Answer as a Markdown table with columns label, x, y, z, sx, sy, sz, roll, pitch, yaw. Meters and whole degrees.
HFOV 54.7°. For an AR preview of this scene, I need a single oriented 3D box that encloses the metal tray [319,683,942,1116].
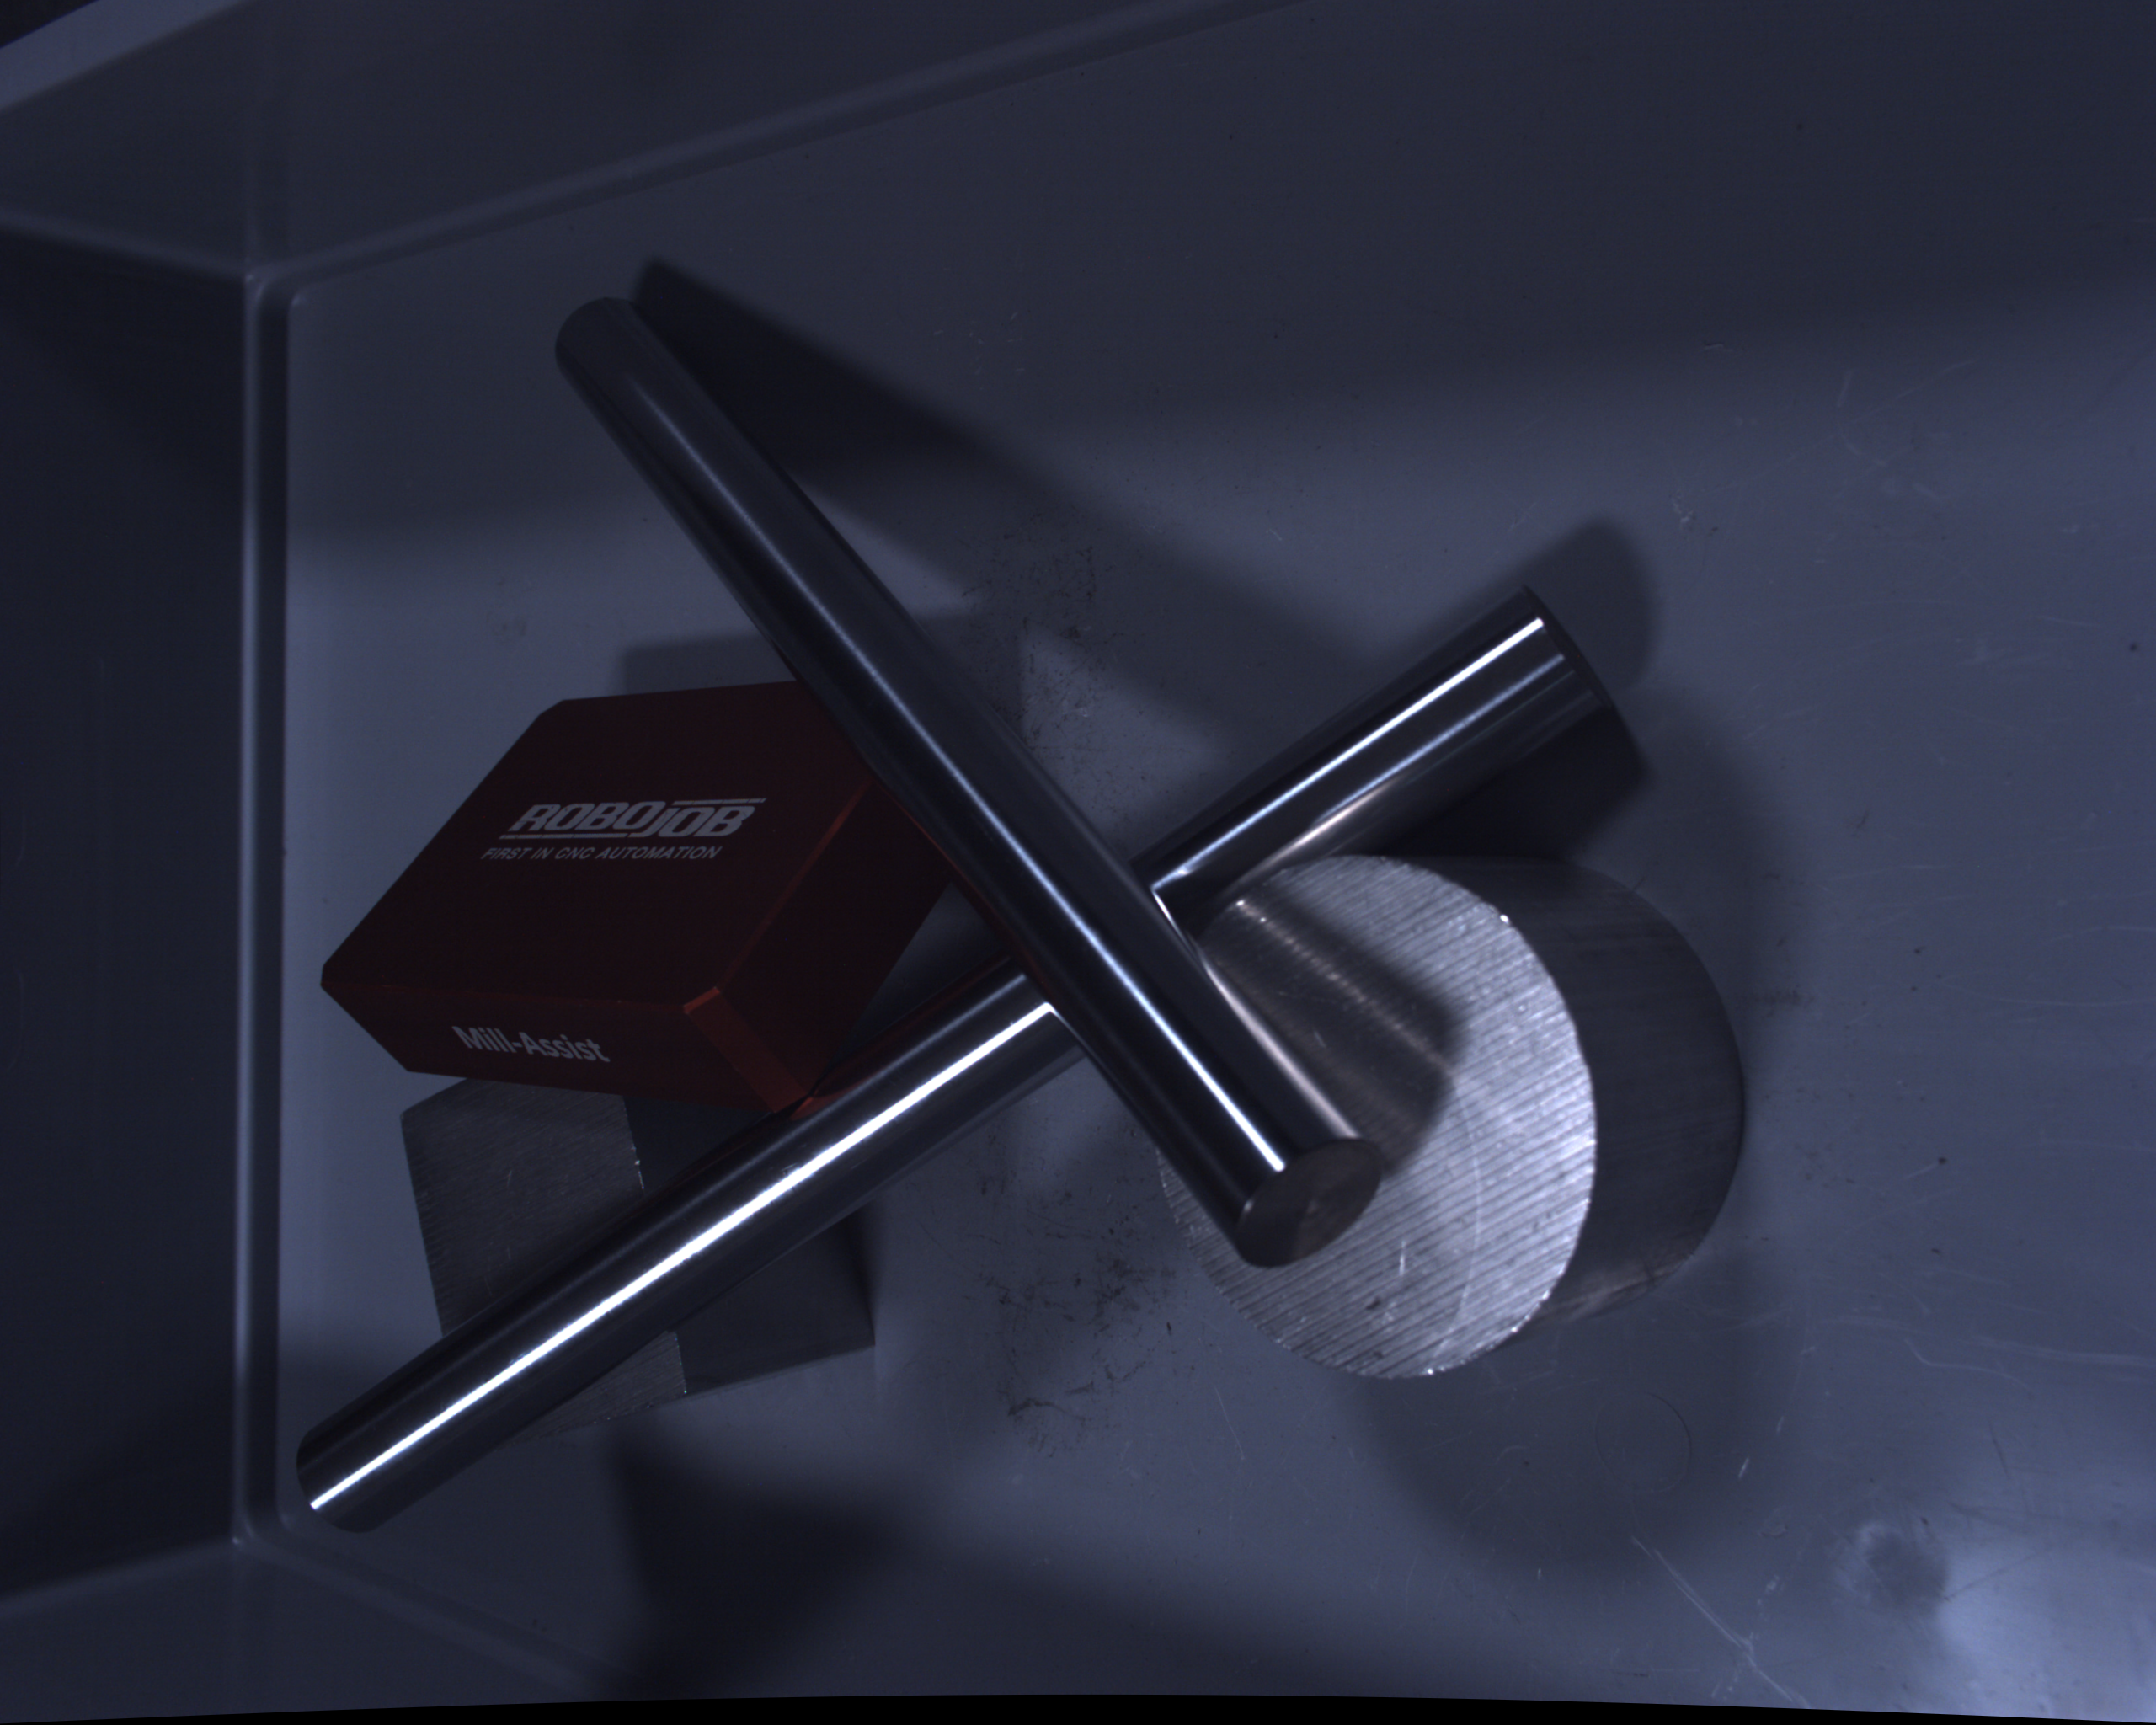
| label | x | y | z | sx | sy | sz | roll | pitch | yaw |
| --- | --- | --- | --- | --- | --- | --- | --- | --- | --- |
| metal tray | -0.089 | 0.004 | 0.436 | 0.130 | 0.030 | 0.090 | 1 | 46 | 41 |

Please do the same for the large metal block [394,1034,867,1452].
| label | x | y | z | sx | sy | sz | roll | pitch | yaw |
| --- | --- | --- | --- | --- | --- | --- | --- | --- | --- |
| large metal block | -0.101 | 0.082 | 0.466 | 0.080 | 0.050 | 0.080 | -24 | 75 | 37 |

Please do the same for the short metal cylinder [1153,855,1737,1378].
| label | x | y | z | sx | sy | sz | roll | pitch | yaw |
| --- | --- | --- | --- | --- | --- | --- | --- | --- | --- |
| short metal cylinder | 0.058 | 0.038 | 0.338 | 0.080 | 0.050 | 0.079 | 0 | 90 | 39 |

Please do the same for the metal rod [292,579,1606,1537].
| label | x | y | z | sx | sy | sz | roll | pitch | yaw |
| --- | --- | --- | --- | --- | --- | --- | --- | --- | --- |
| metal rod | -0.037 | 0.046 | 0.385 | 0.300 | 0.025 | 0.025 | -35 | 68 | 19 |

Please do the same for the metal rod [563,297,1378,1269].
| label | x | y | z | sx | sy | sz | roll | pitch | yaw |
| --- | --- | --- | --- | --- | --- | --- | --- | --- | --- |
| metal rod | -0.039 | -0.037 | 0.397 | 0.300 | 0.025 | 0.025 | 50 | 120 | 42 |
